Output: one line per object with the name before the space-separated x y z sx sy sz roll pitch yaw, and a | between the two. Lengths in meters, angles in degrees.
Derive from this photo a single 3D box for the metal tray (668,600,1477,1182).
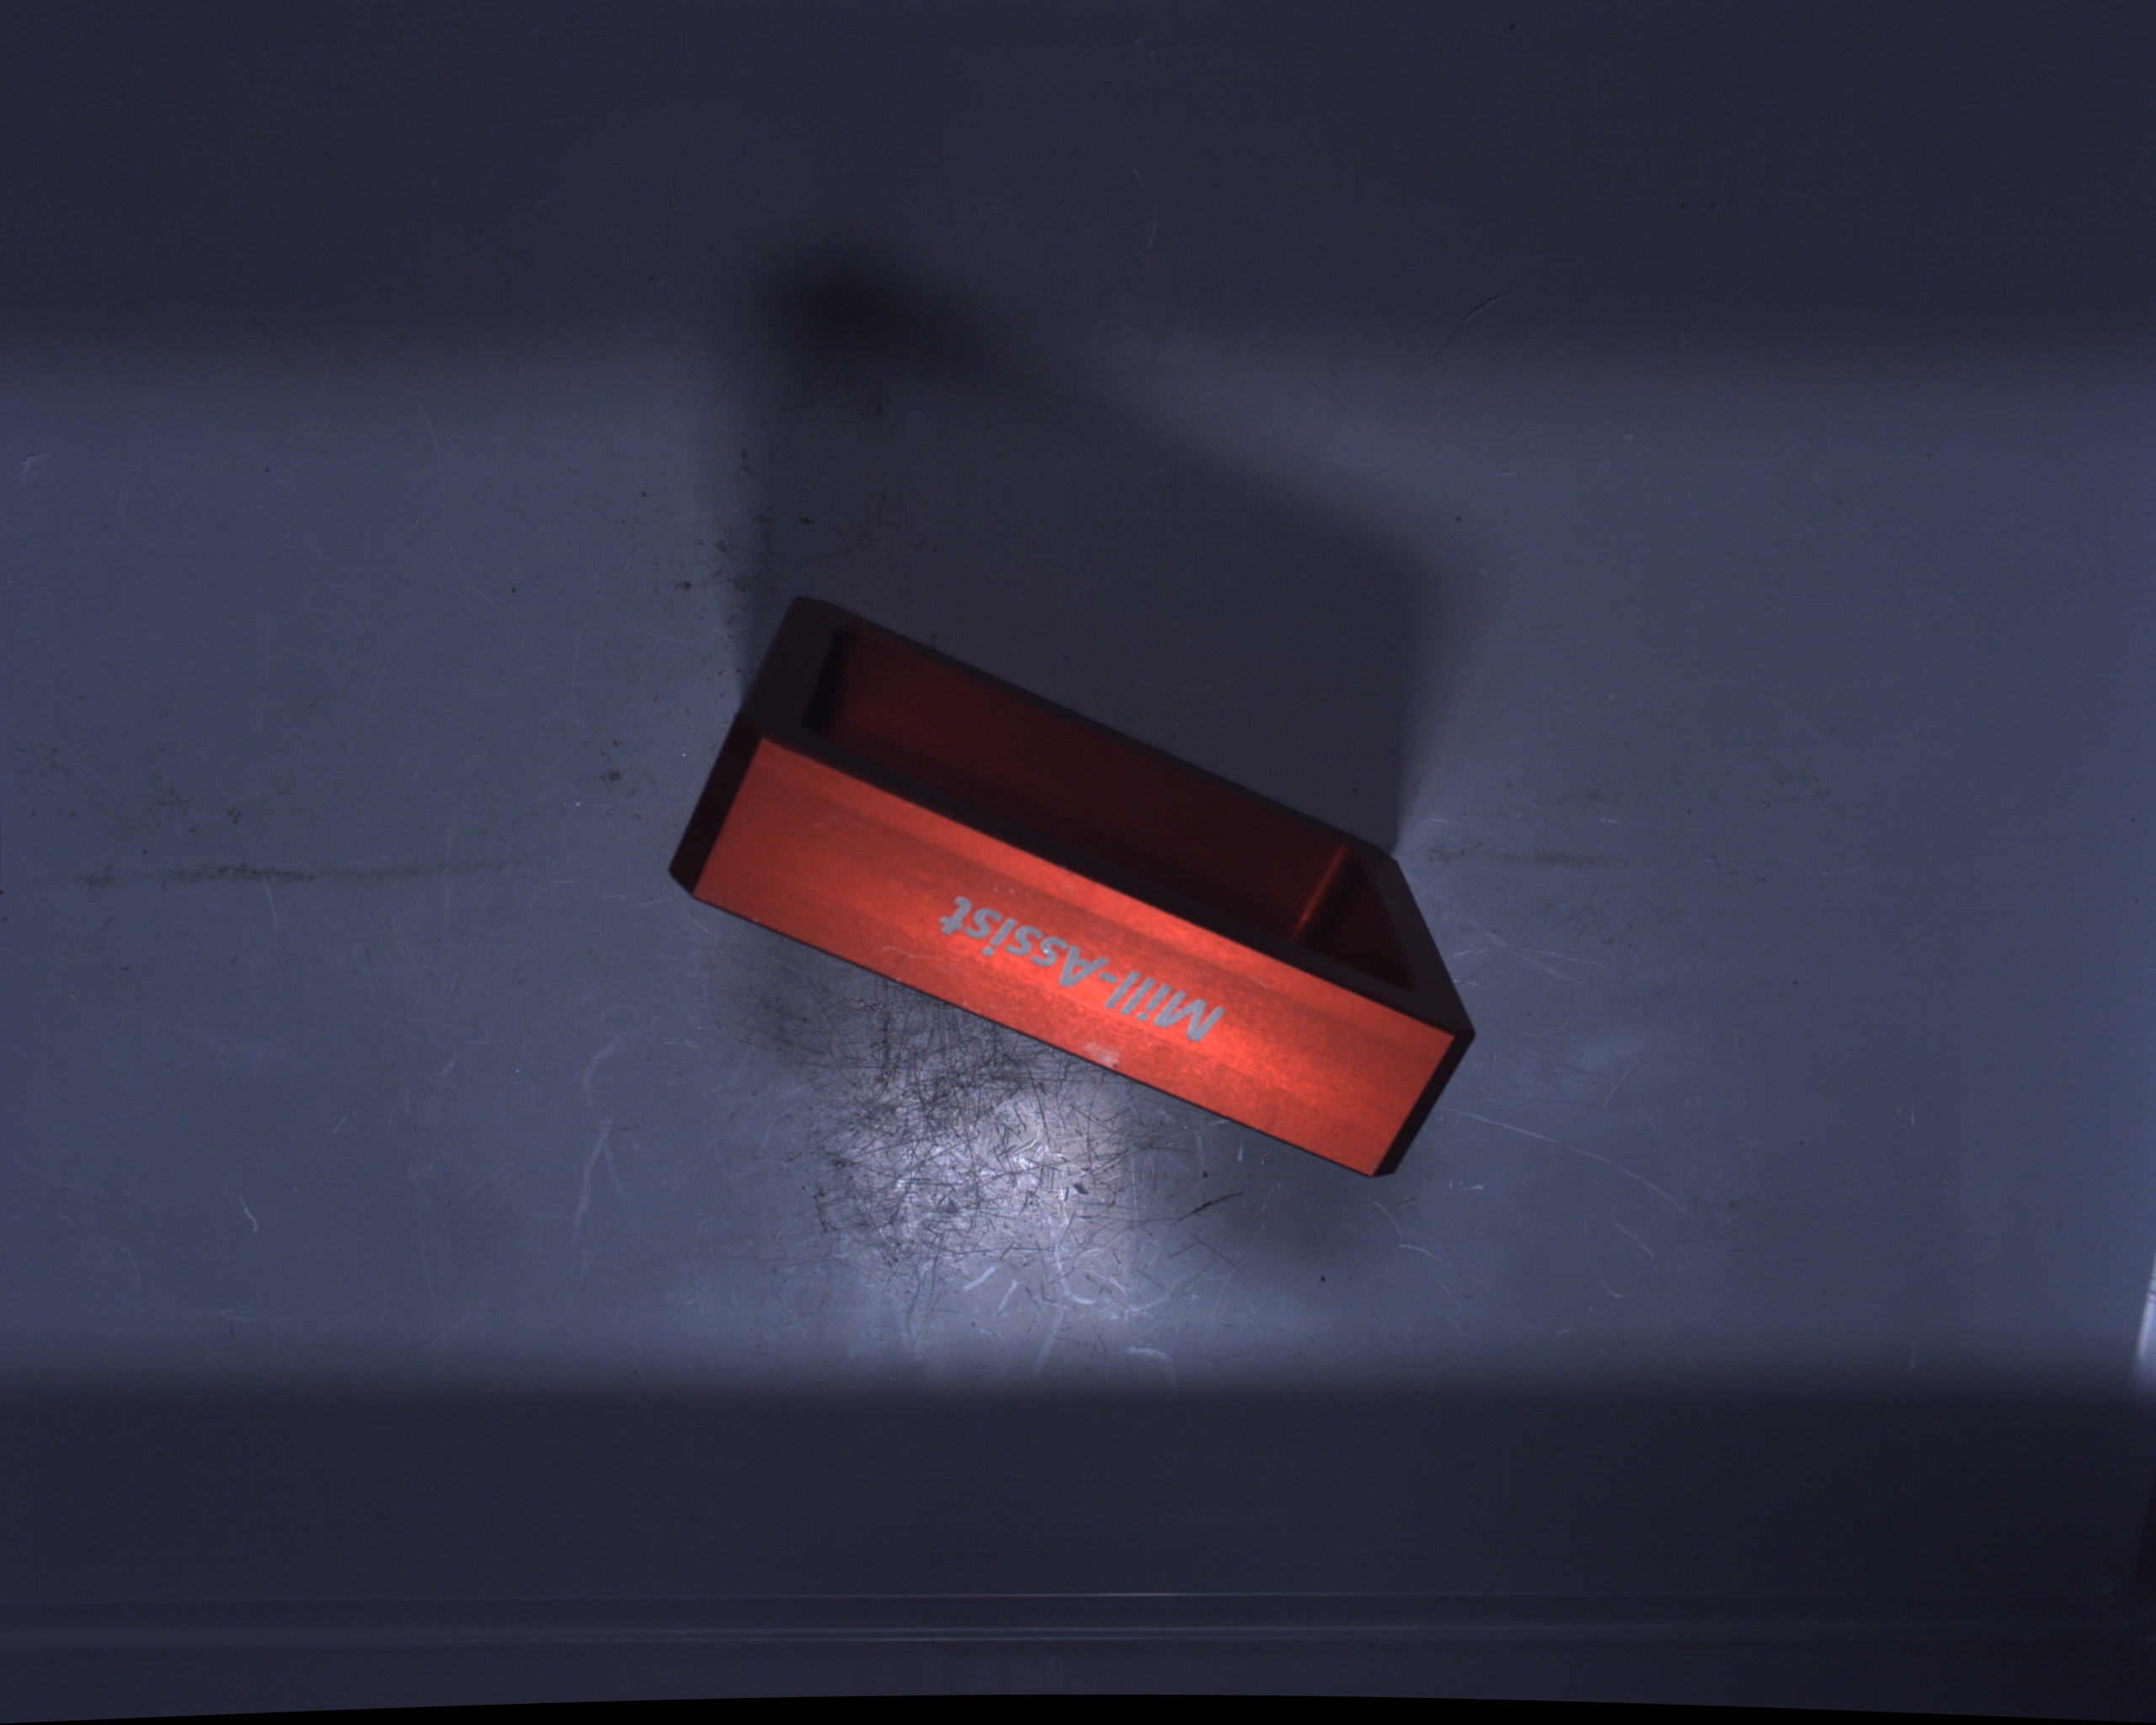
metal tray | 0.000 0.002 0.374 0.131 0.090 0.030 23 108 -9
